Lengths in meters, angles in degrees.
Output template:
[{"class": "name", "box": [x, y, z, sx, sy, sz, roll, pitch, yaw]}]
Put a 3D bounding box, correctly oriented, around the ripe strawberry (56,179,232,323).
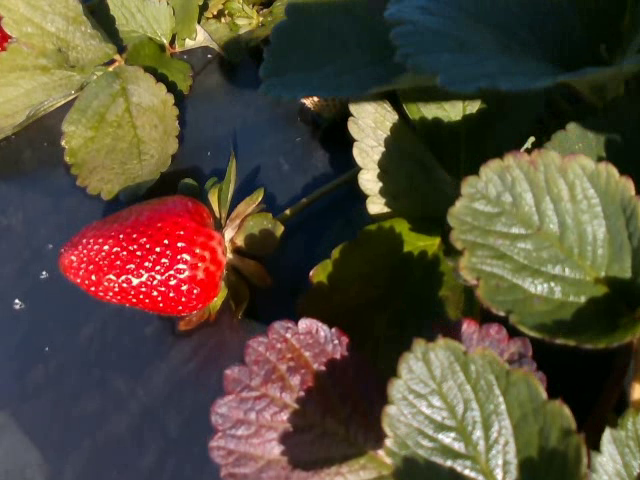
[{"class": "ripe strawberry", "box": [-0.055, 0.006, 0.182, 0.050, 0.043, 0.043, -2, -29, -25]}]
